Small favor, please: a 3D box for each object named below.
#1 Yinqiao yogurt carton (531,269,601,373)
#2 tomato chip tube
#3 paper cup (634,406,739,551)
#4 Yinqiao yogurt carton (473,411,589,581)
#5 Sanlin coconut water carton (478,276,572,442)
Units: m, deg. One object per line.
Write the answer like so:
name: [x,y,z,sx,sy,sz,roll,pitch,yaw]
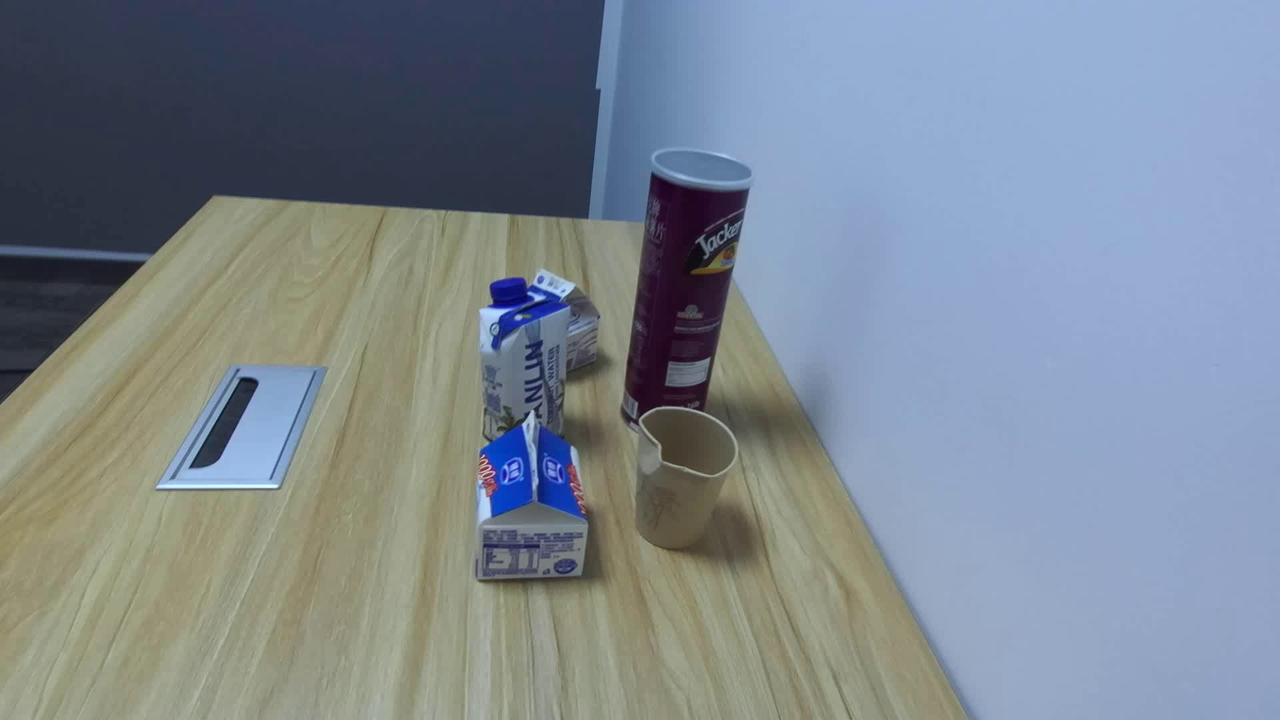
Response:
Yinqiao yogurt carton: [-0.086,-0.042,0.682,0.077,0.093,0.083,-23,45,-39]
tomato chip tube: [0.033,-0.047,0.585,0.078,0.234,0.078,6,33,-4]
paper cup: [0.028,0.088,0.511,0.073,0.081,0.069,14,32,8]
Yinqiao yogurt carton: [-0.075,0.091,0.481,0.074,0.092,0.075,1,34,-13]
Sanlin coconut water carton: [-0.093,0.006,0.568,0.057,0.142,0.078,23,34,33]
